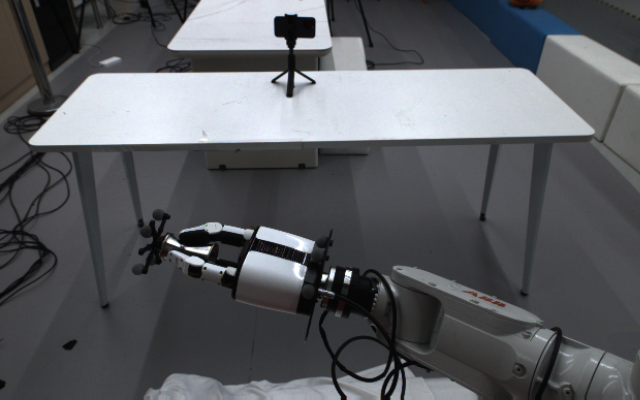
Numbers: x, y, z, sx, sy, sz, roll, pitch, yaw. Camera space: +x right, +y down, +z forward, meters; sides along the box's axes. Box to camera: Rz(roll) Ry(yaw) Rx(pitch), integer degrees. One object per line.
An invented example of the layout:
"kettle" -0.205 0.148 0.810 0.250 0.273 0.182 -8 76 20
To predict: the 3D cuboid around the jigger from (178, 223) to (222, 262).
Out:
"jigger" -0.175 0.071 0.674 0.071 0.043 0.043 14 36 4
